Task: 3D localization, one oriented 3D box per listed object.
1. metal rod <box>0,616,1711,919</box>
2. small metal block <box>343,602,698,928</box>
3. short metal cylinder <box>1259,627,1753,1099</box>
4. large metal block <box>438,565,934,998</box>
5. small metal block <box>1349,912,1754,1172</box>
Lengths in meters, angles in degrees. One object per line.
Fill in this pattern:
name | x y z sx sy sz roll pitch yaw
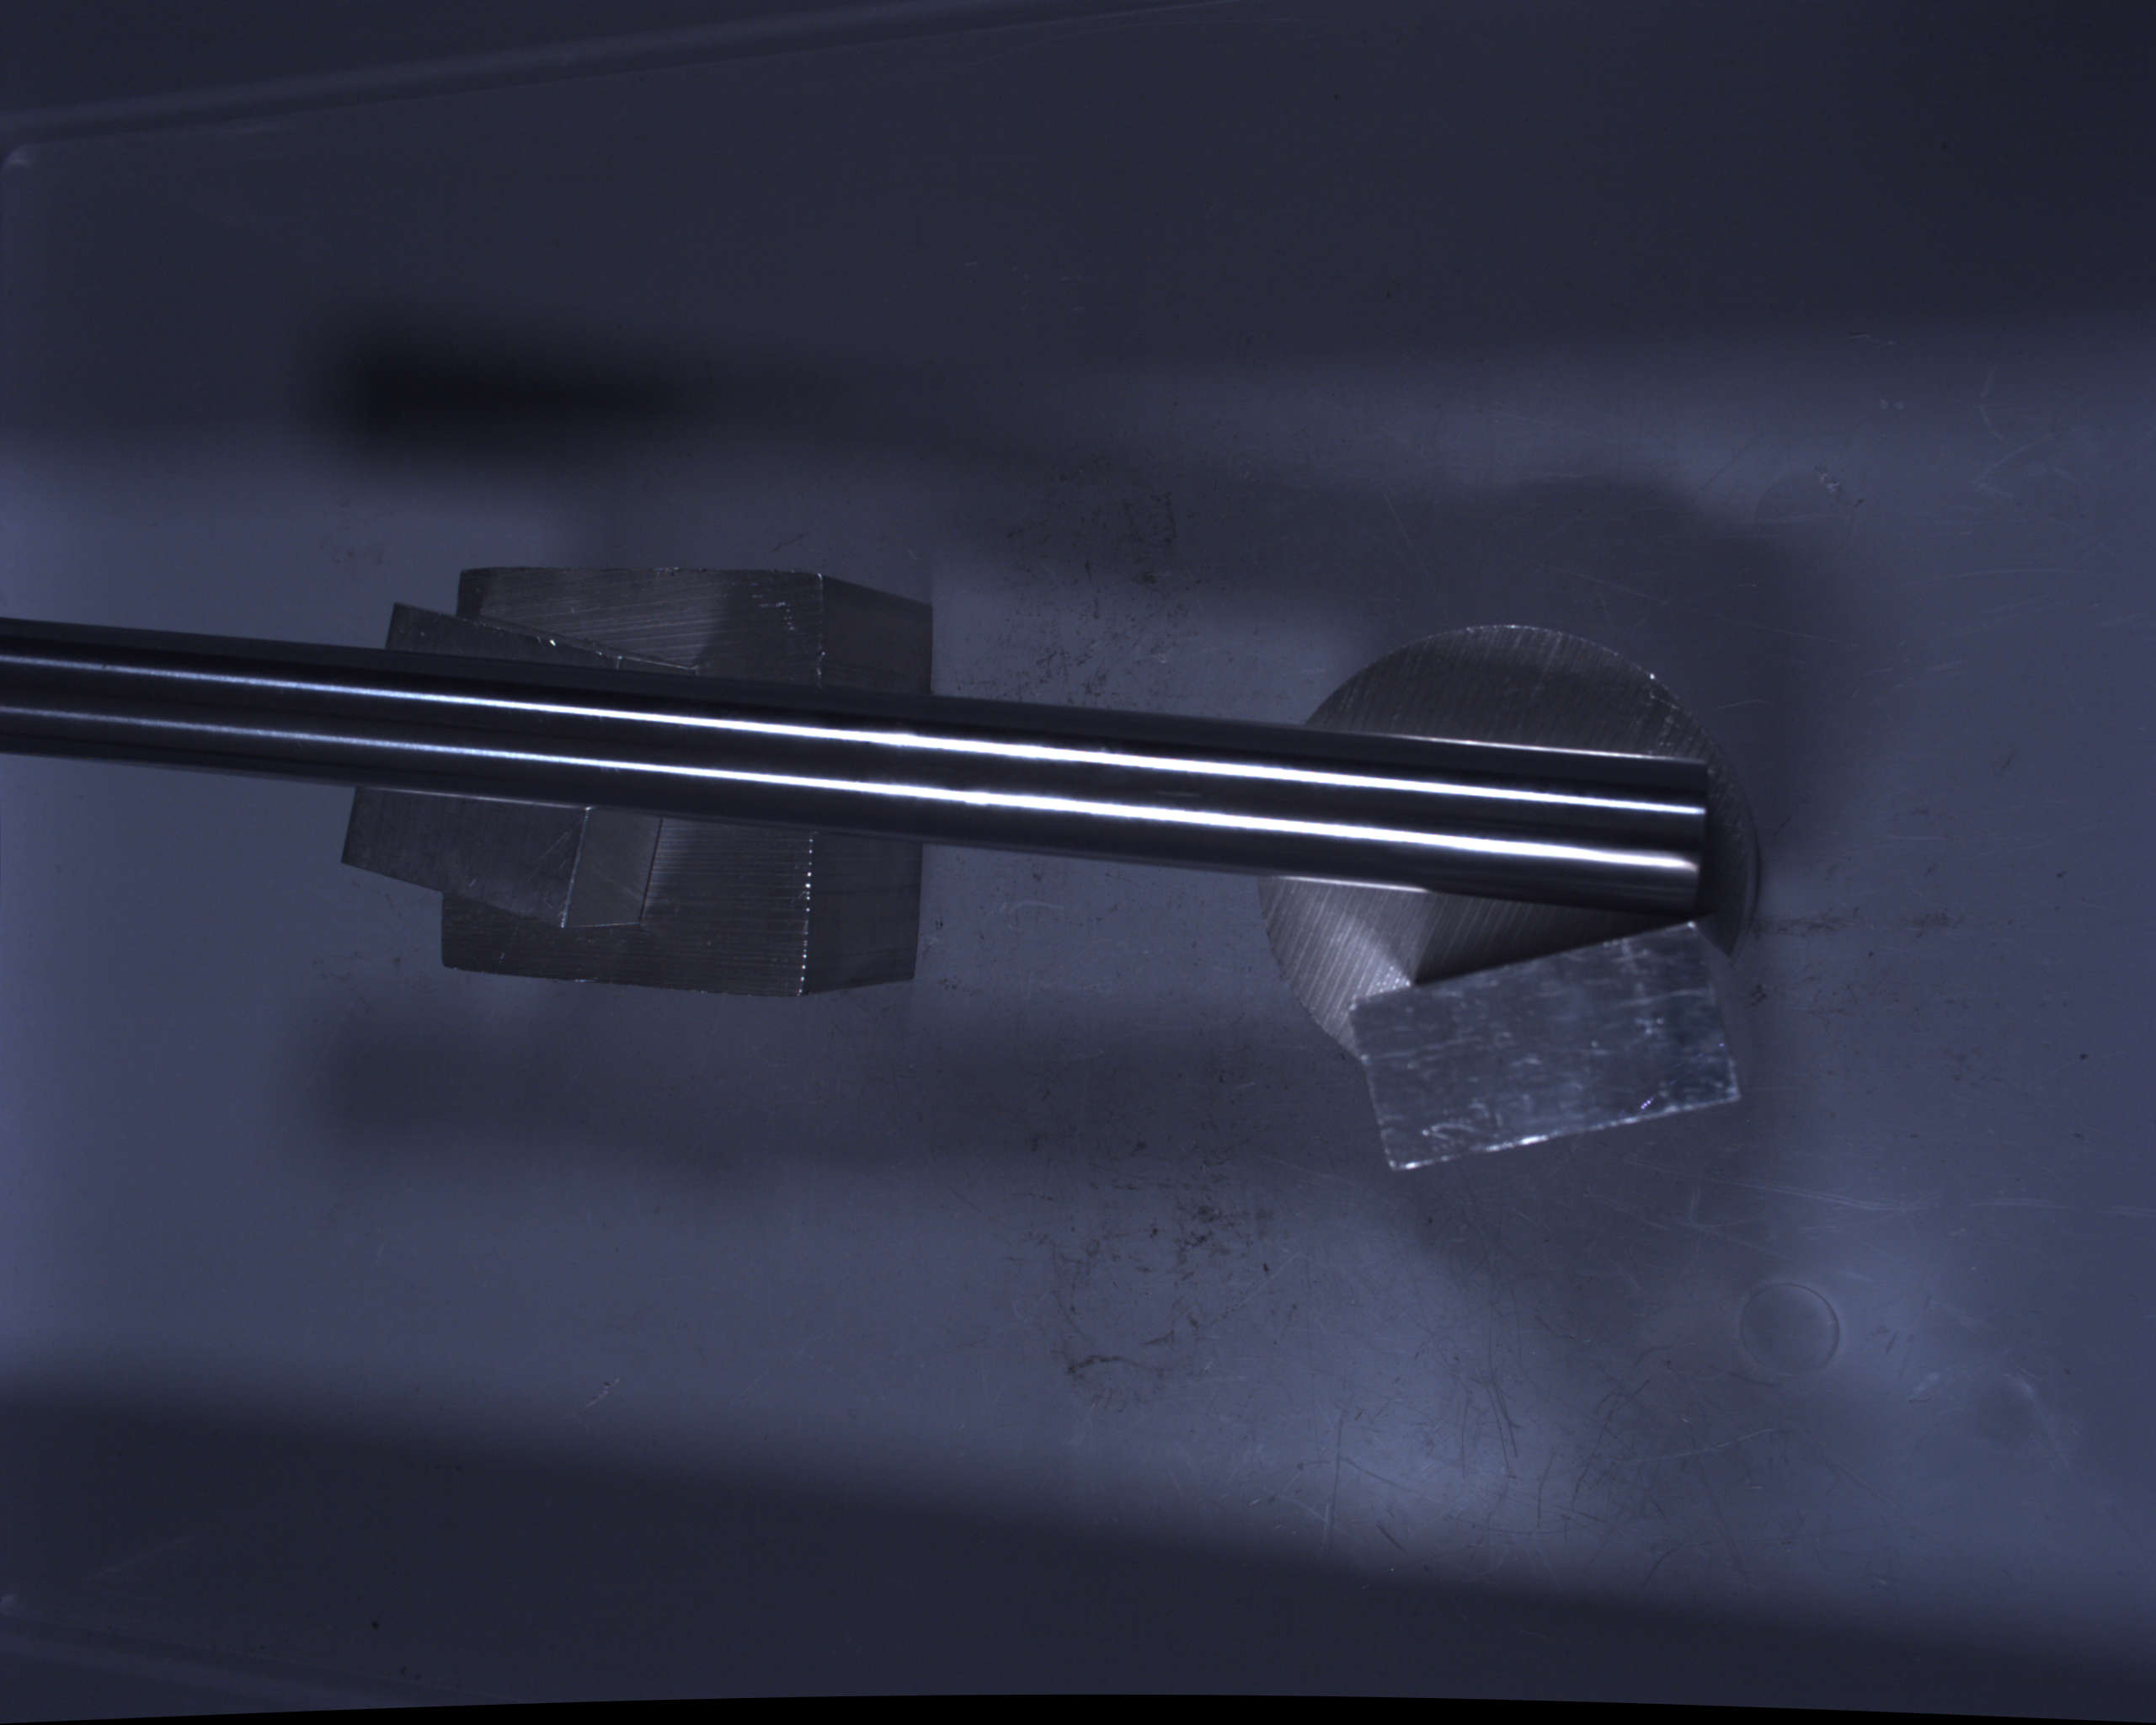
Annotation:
metal rod | -0.051 -0.018 0.351 0.301 0.025 0.025 6 92 11
small metal block | -0.104 -0.018 0.391 0.050 0.025 0.050 14 94 19
short metal cylinder | 0.077 0.001 0.368 0.080 0.050 0.079 0 90 19
large metal block | -0.078 -0.017 0.420 0.080 0.050 0.079 3 91 19
small metal block | 0.073 0.026 0.315 0.050 0.050 0.025 -15 85 19
